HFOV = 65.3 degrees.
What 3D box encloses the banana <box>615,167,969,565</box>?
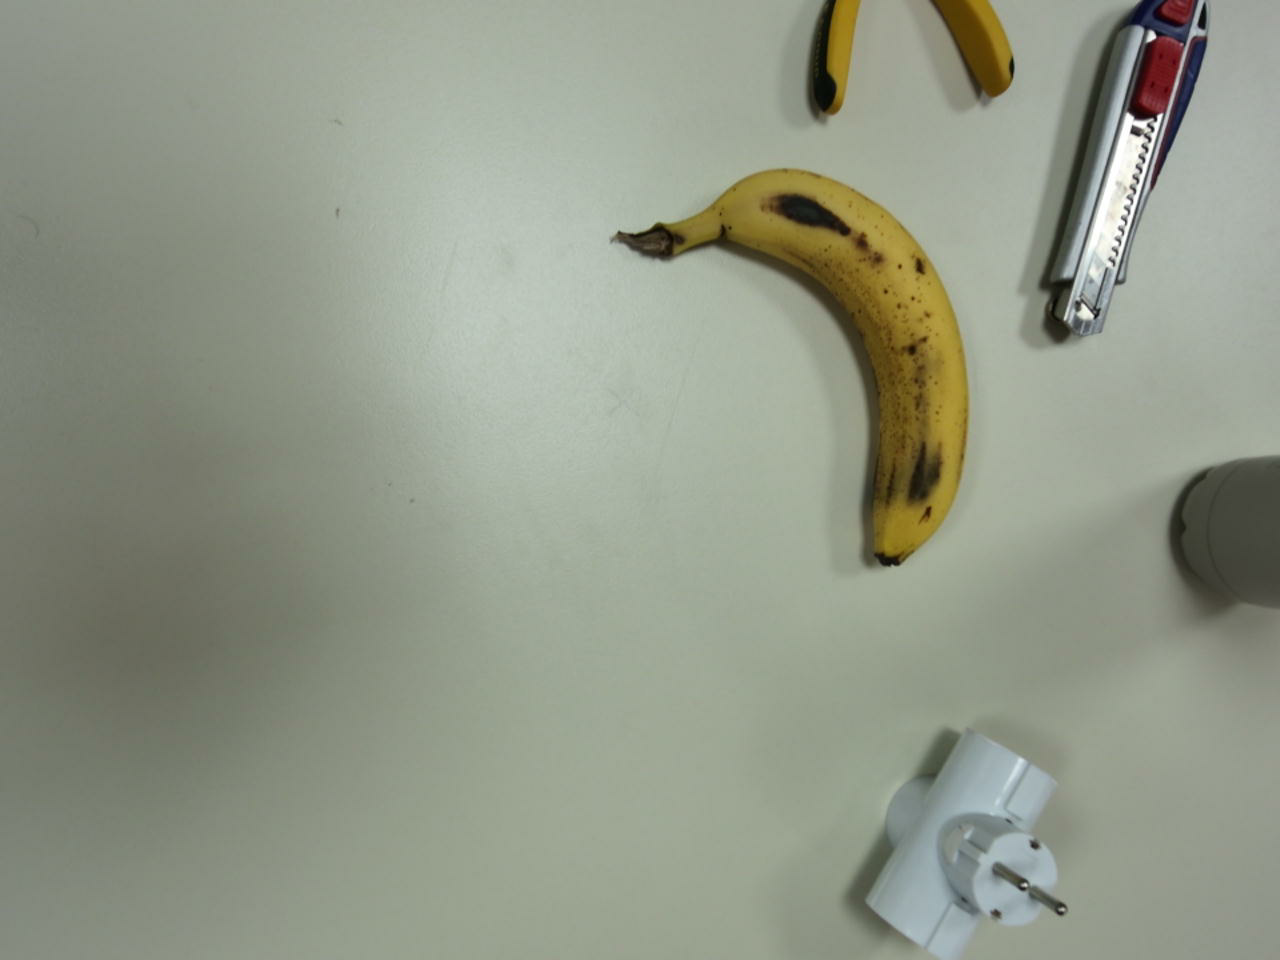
[{"bbox_3d":[0.091,-0.061,0.438,0.097,0.038,0.186,-39,97,-9],"label":"banana"}]
